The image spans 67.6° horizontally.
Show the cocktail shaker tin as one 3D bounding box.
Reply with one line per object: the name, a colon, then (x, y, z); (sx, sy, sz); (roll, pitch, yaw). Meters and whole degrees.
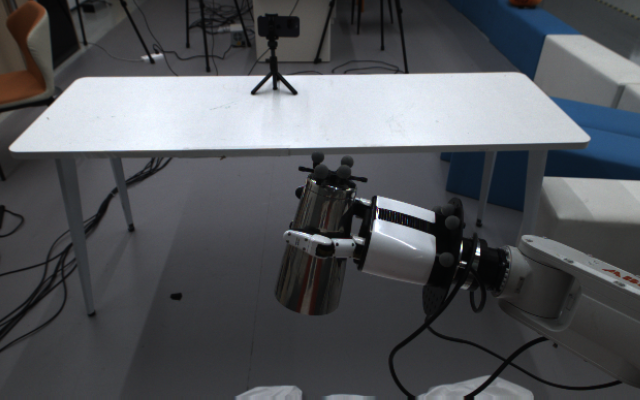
cocktail shaker tin: (0.000, 0.054, 0.640); (0.093, 0.170, 0.093); (11, 19, -4)
